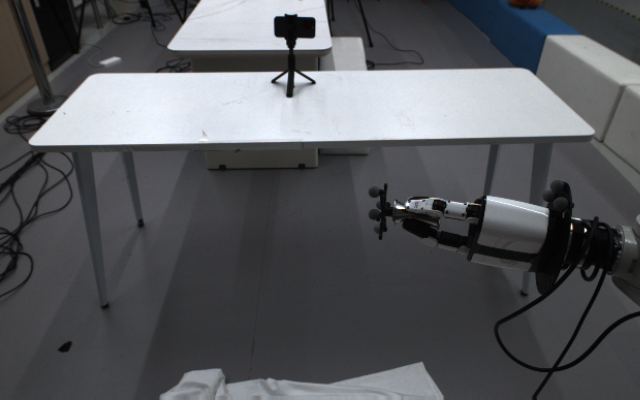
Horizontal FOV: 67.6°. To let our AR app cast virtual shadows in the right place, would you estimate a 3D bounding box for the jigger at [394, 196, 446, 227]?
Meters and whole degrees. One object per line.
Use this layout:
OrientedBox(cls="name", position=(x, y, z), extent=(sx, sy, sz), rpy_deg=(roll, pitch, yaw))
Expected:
OrientedBox(cls="jigger", position=(0.153, 0.017, 0.732), extent=(0.071, 0.043, 0.043), rpy_deg=(3, 34, 16))
